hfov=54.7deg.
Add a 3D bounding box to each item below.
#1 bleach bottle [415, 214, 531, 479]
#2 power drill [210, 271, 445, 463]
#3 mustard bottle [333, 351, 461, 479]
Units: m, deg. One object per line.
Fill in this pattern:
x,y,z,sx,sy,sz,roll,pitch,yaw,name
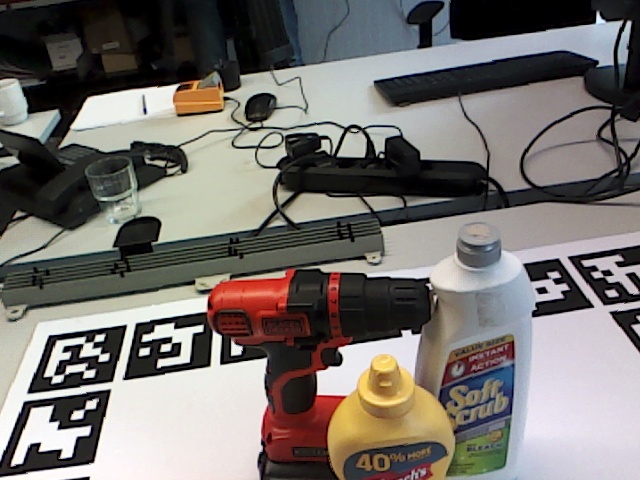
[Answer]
0.120,0.097,0.515,0.102,0.250,0.068,-7,29,1,bleach bottle
0.010,0.109,0.525,0.185,0.186,0.057,-1,34,8,power drill
0.059,0.159,0.479,0.096,0.191,0.058,-8,34,-2,mustard bottle
